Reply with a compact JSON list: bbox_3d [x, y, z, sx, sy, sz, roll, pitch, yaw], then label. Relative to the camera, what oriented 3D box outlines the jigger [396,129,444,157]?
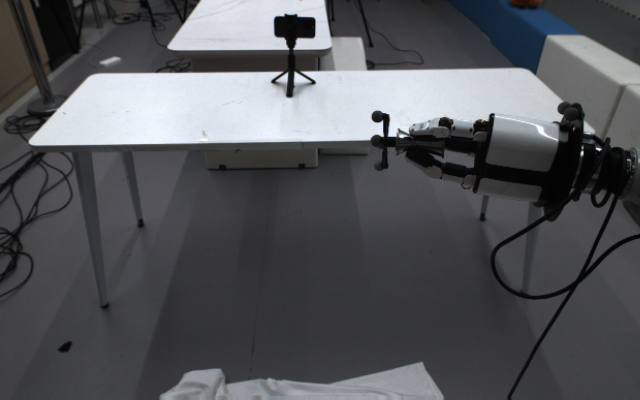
[{"bbox_3d":[0.153,-0.088,0.706,0.071,0.043,0.043,2,34,14],"label":"jigger"}]
